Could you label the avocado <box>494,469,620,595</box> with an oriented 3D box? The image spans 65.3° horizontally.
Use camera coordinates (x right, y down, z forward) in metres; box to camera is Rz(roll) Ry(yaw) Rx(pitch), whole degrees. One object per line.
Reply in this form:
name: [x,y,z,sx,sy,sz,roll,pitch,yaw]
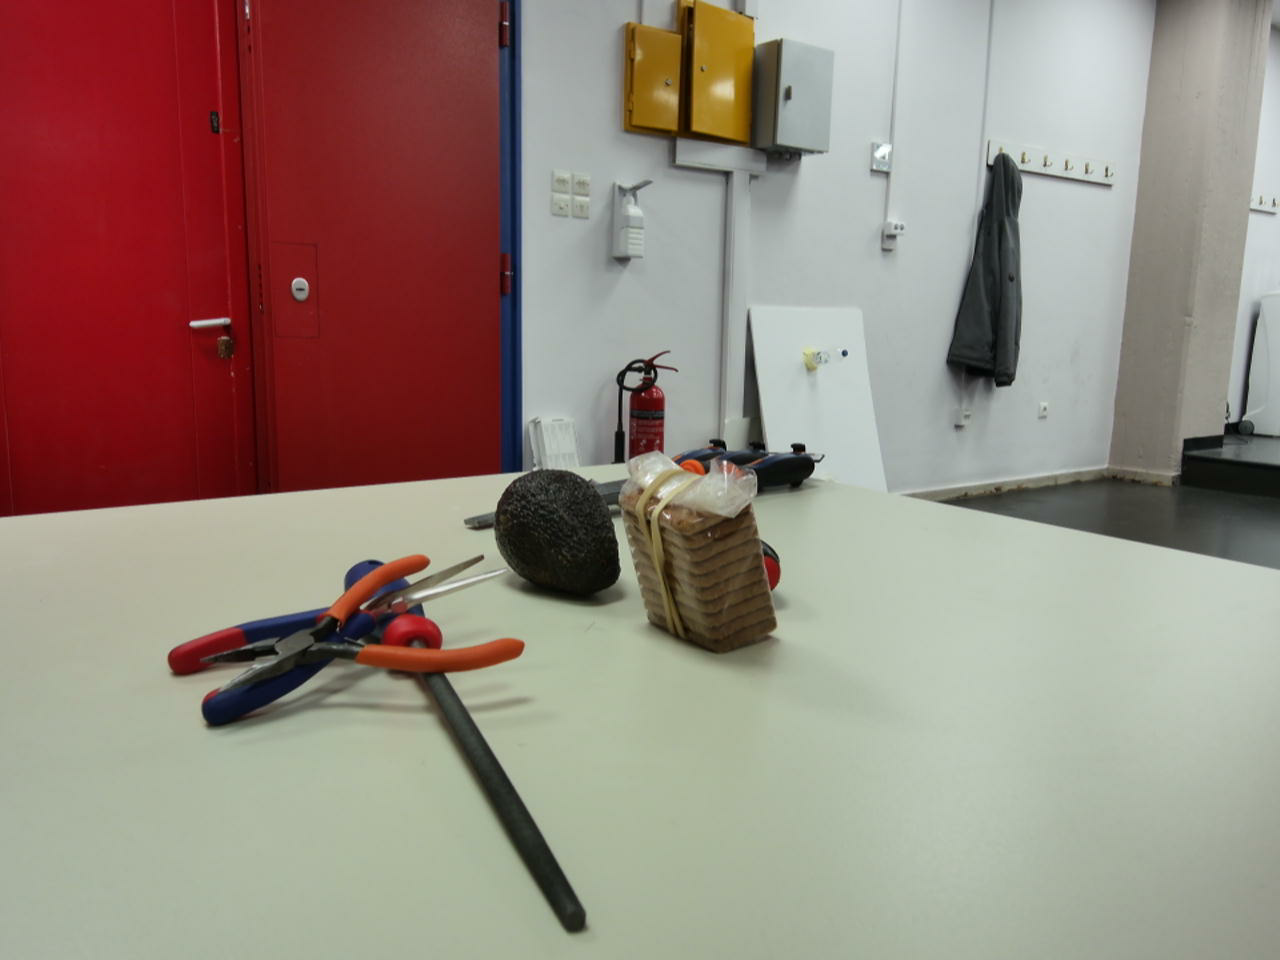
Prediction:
avocado: [-0.050,0.029,0.589,0.070,0.069,0.090,-1,8,-11]
